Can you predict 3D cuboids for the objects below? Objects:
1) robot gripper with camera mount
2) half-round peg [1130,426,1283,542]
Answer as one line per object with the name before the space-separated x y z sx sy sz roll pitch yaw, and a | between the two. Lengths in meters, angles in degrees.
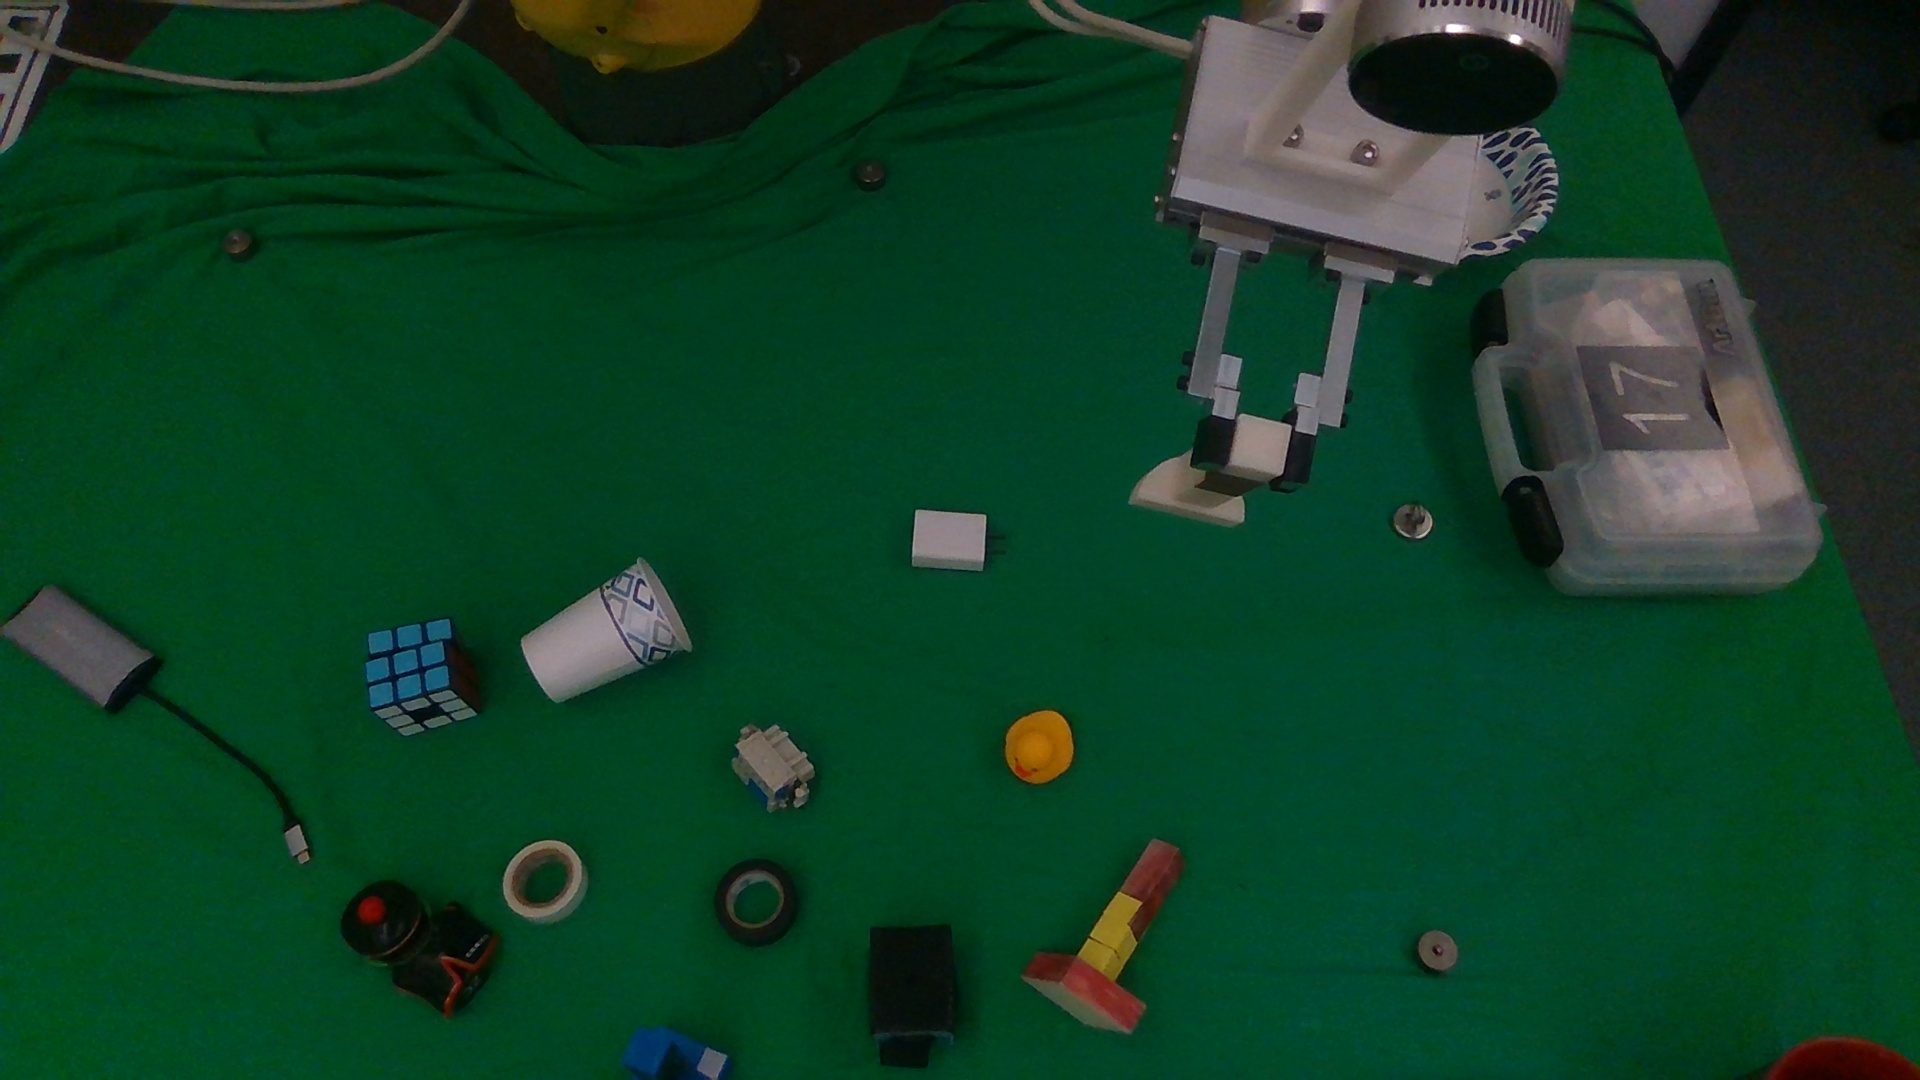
robot gripper with camera mount | 0.141 -0.110 0.459 0.119 0.193 0.158 14 82 -5
half-round peg | 0.109 -0.024 0.581 0.054 0.122 0.031 13 83 -2
